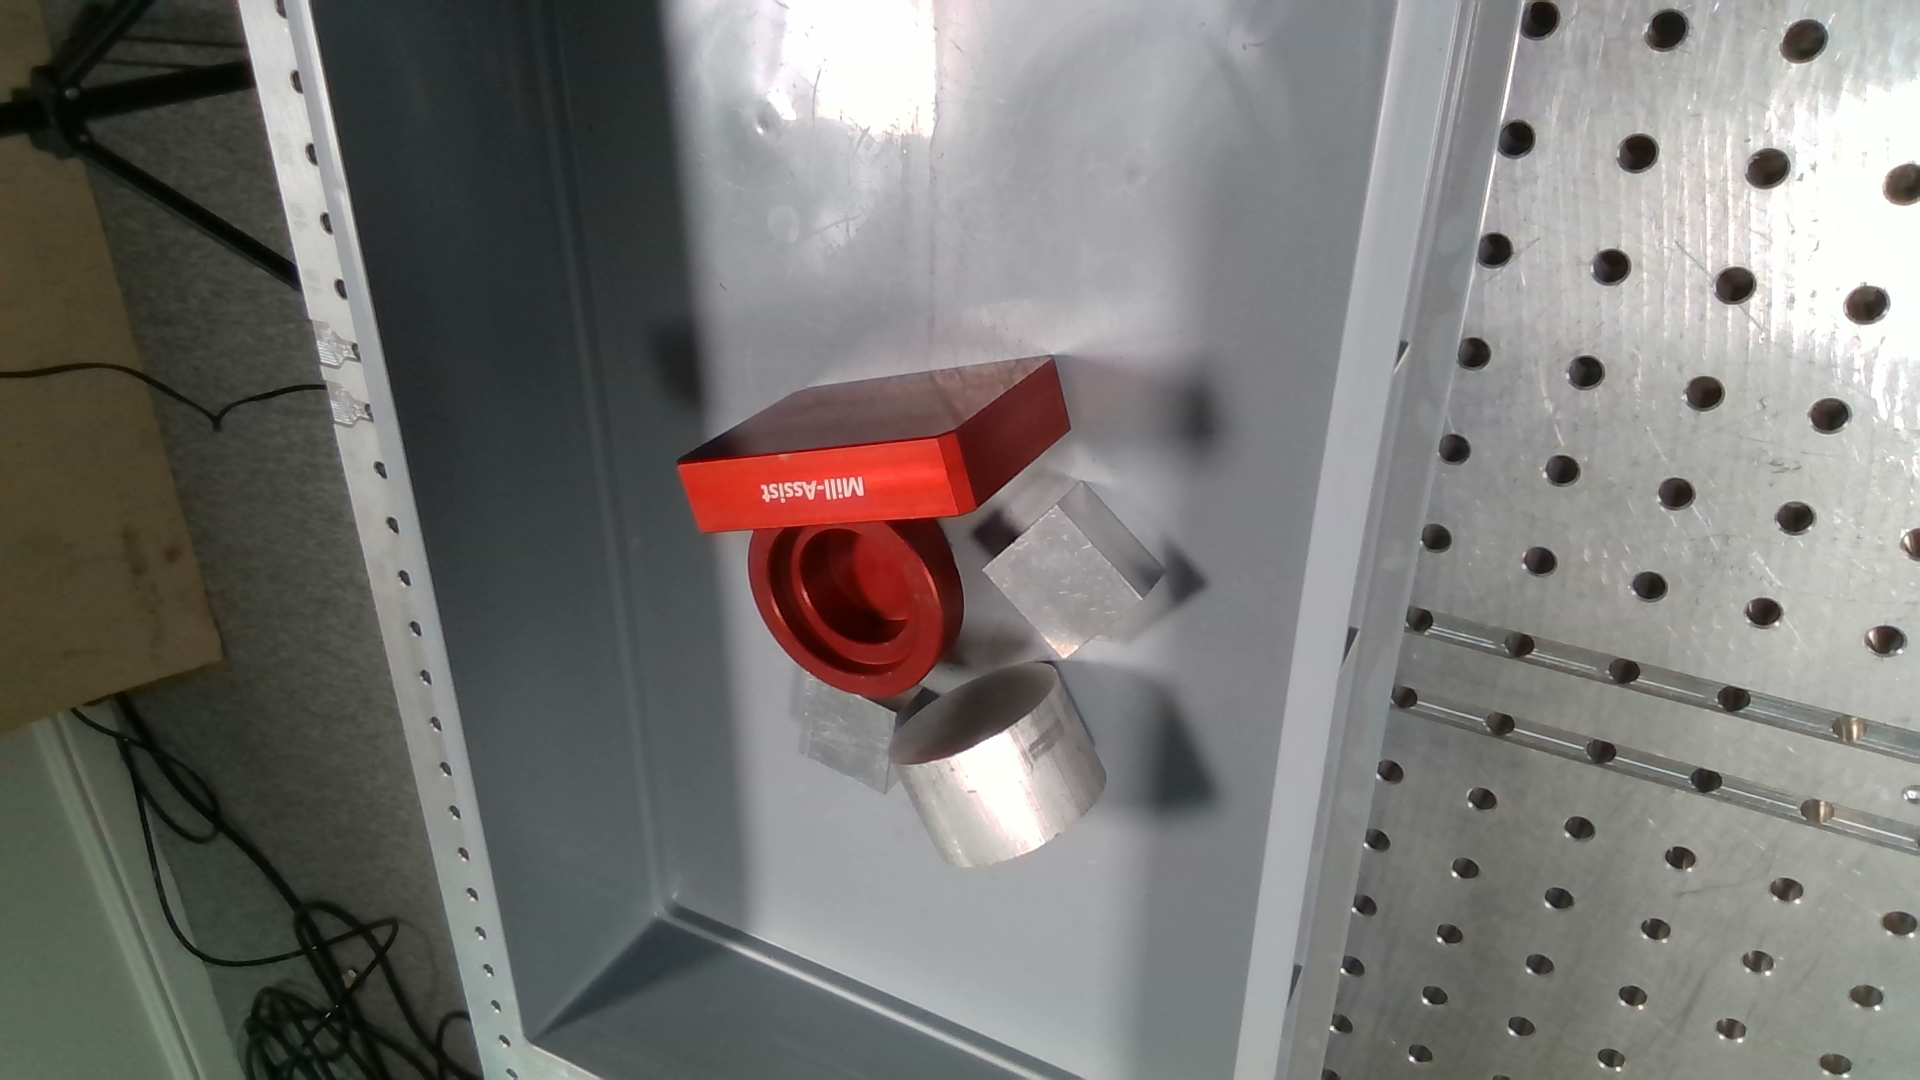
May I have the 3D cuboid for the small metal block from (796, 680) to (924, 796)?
[{"bbox_3d":[-0.048,0.086,0.655,0.050,0.025,0.050,22,123,19],"label":"small metal block"}]

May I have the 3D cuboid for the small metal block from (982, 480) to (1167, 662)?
[{"bbox_3d":[0.046,0.013,0.557,0.050,0.025,0.050,48,128,1],"label":"small metal block"}]

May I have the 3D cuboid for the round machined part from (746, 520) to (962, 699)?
[{"bbox_3d":[-0.042,0.017,0.600,0.098,0.042,0.098,14,122,25],"label":"round machined part"}]

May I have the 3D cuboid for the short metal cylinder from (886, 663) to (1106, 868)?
[{"bbox_3d":[0.015,0.095,0.586,0.080,0.080,0.050,-17,105,37],"label":"short metal cylinder"}]

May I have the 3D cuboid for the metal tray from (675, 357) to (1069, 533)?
[{"bbox_3d":[-0.034,-0.037,0.537,0.130,0.090,0.030,-3,113,33],"label":"metal tray"}]
